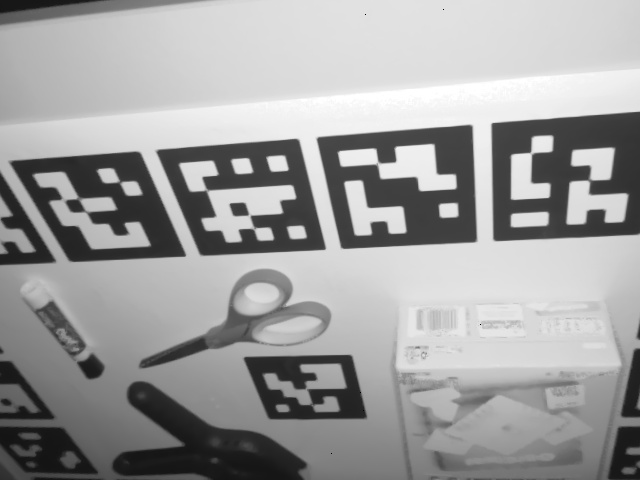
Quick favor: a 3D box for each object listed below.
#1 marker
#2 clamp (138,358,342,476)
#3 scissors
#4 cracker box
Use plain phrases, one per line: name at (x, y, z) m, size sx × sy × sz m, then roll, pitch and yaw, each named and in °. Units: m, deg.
marker at (-0.204, 0.064, 0.598) m, size 0.019 × 0.020 × 0.120 m, roll -9°, pitch 129°, yaw 14°
clamp at (-0.074, 0.198, 0.703) m, size 0.204 × 0.037 × 0.163 m, roll 18°, pitch 131°, yaw -8°
scissors at (-0.064, 0.055, 0.576) m, size 0.200 × 0.016 × 0.088 m, roll -30°, pitch 122°, yaw 30°
cracker box at (0.177, 0.112, 0.563) m, size 0.163 × 0.073 × 0.212 m, roll -5°, pitch 129°, yaw 10°
